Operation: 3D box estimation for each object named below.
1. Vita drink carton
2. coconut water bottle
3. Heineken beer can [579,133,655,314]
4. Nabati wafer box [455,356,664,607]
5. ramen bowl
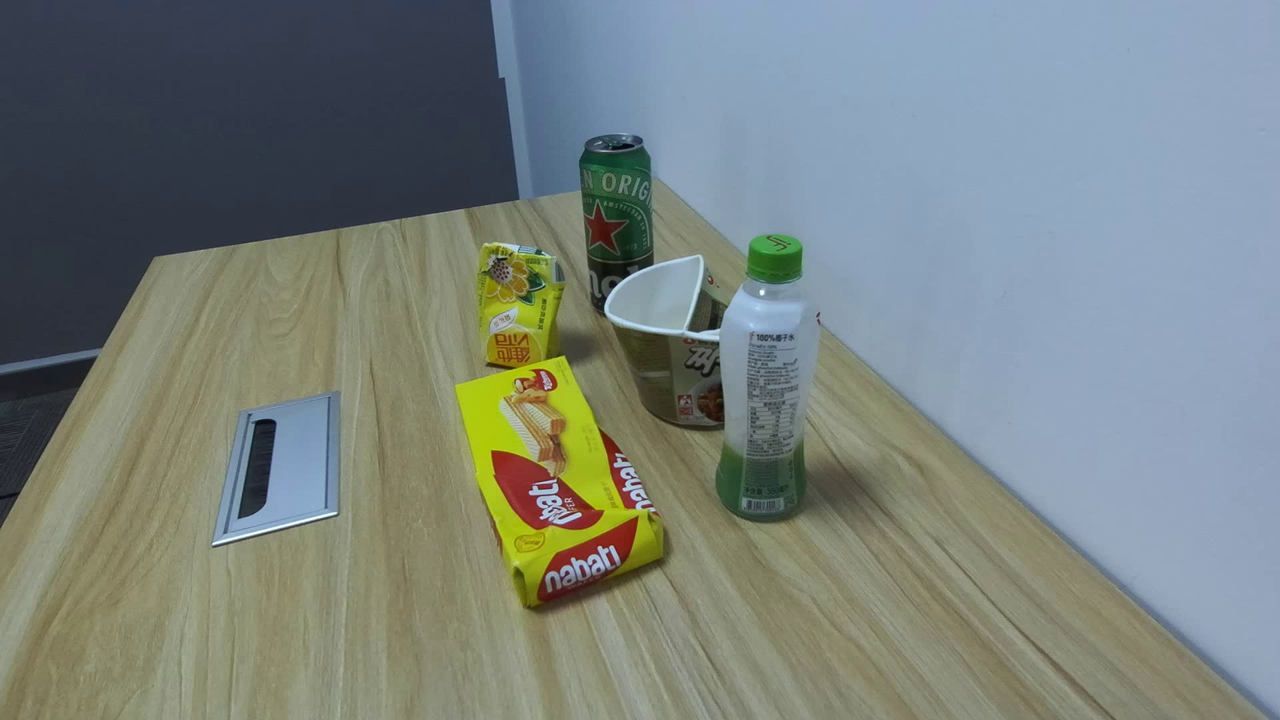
[{"bbox_3d":[-0.106,-0.050,0.635,0.087,0.108,0.042,10,21,16],"label":"Vita drink carton"},{"bbox_3d":[0.082,0.012,0.445,0.069,0.186,0.069,-1,32,1],"label":"coconut water bottle"},{"bbox_3d":[-0.019,-0.125,0.682,0.067,0.169,0.067,-2,31,1],"label":"Heineken beer can"},{"bbox_3d":[-0.061,0.075,0.502,0.107,0.042,0.203,-15,37,-16],"label":"Nabati wafer box"},{"bbox_3d":[0.043,-0.014,0.573,0.137,0.098,0.137,-1,32,1],"label":"ramen bowl"}]
